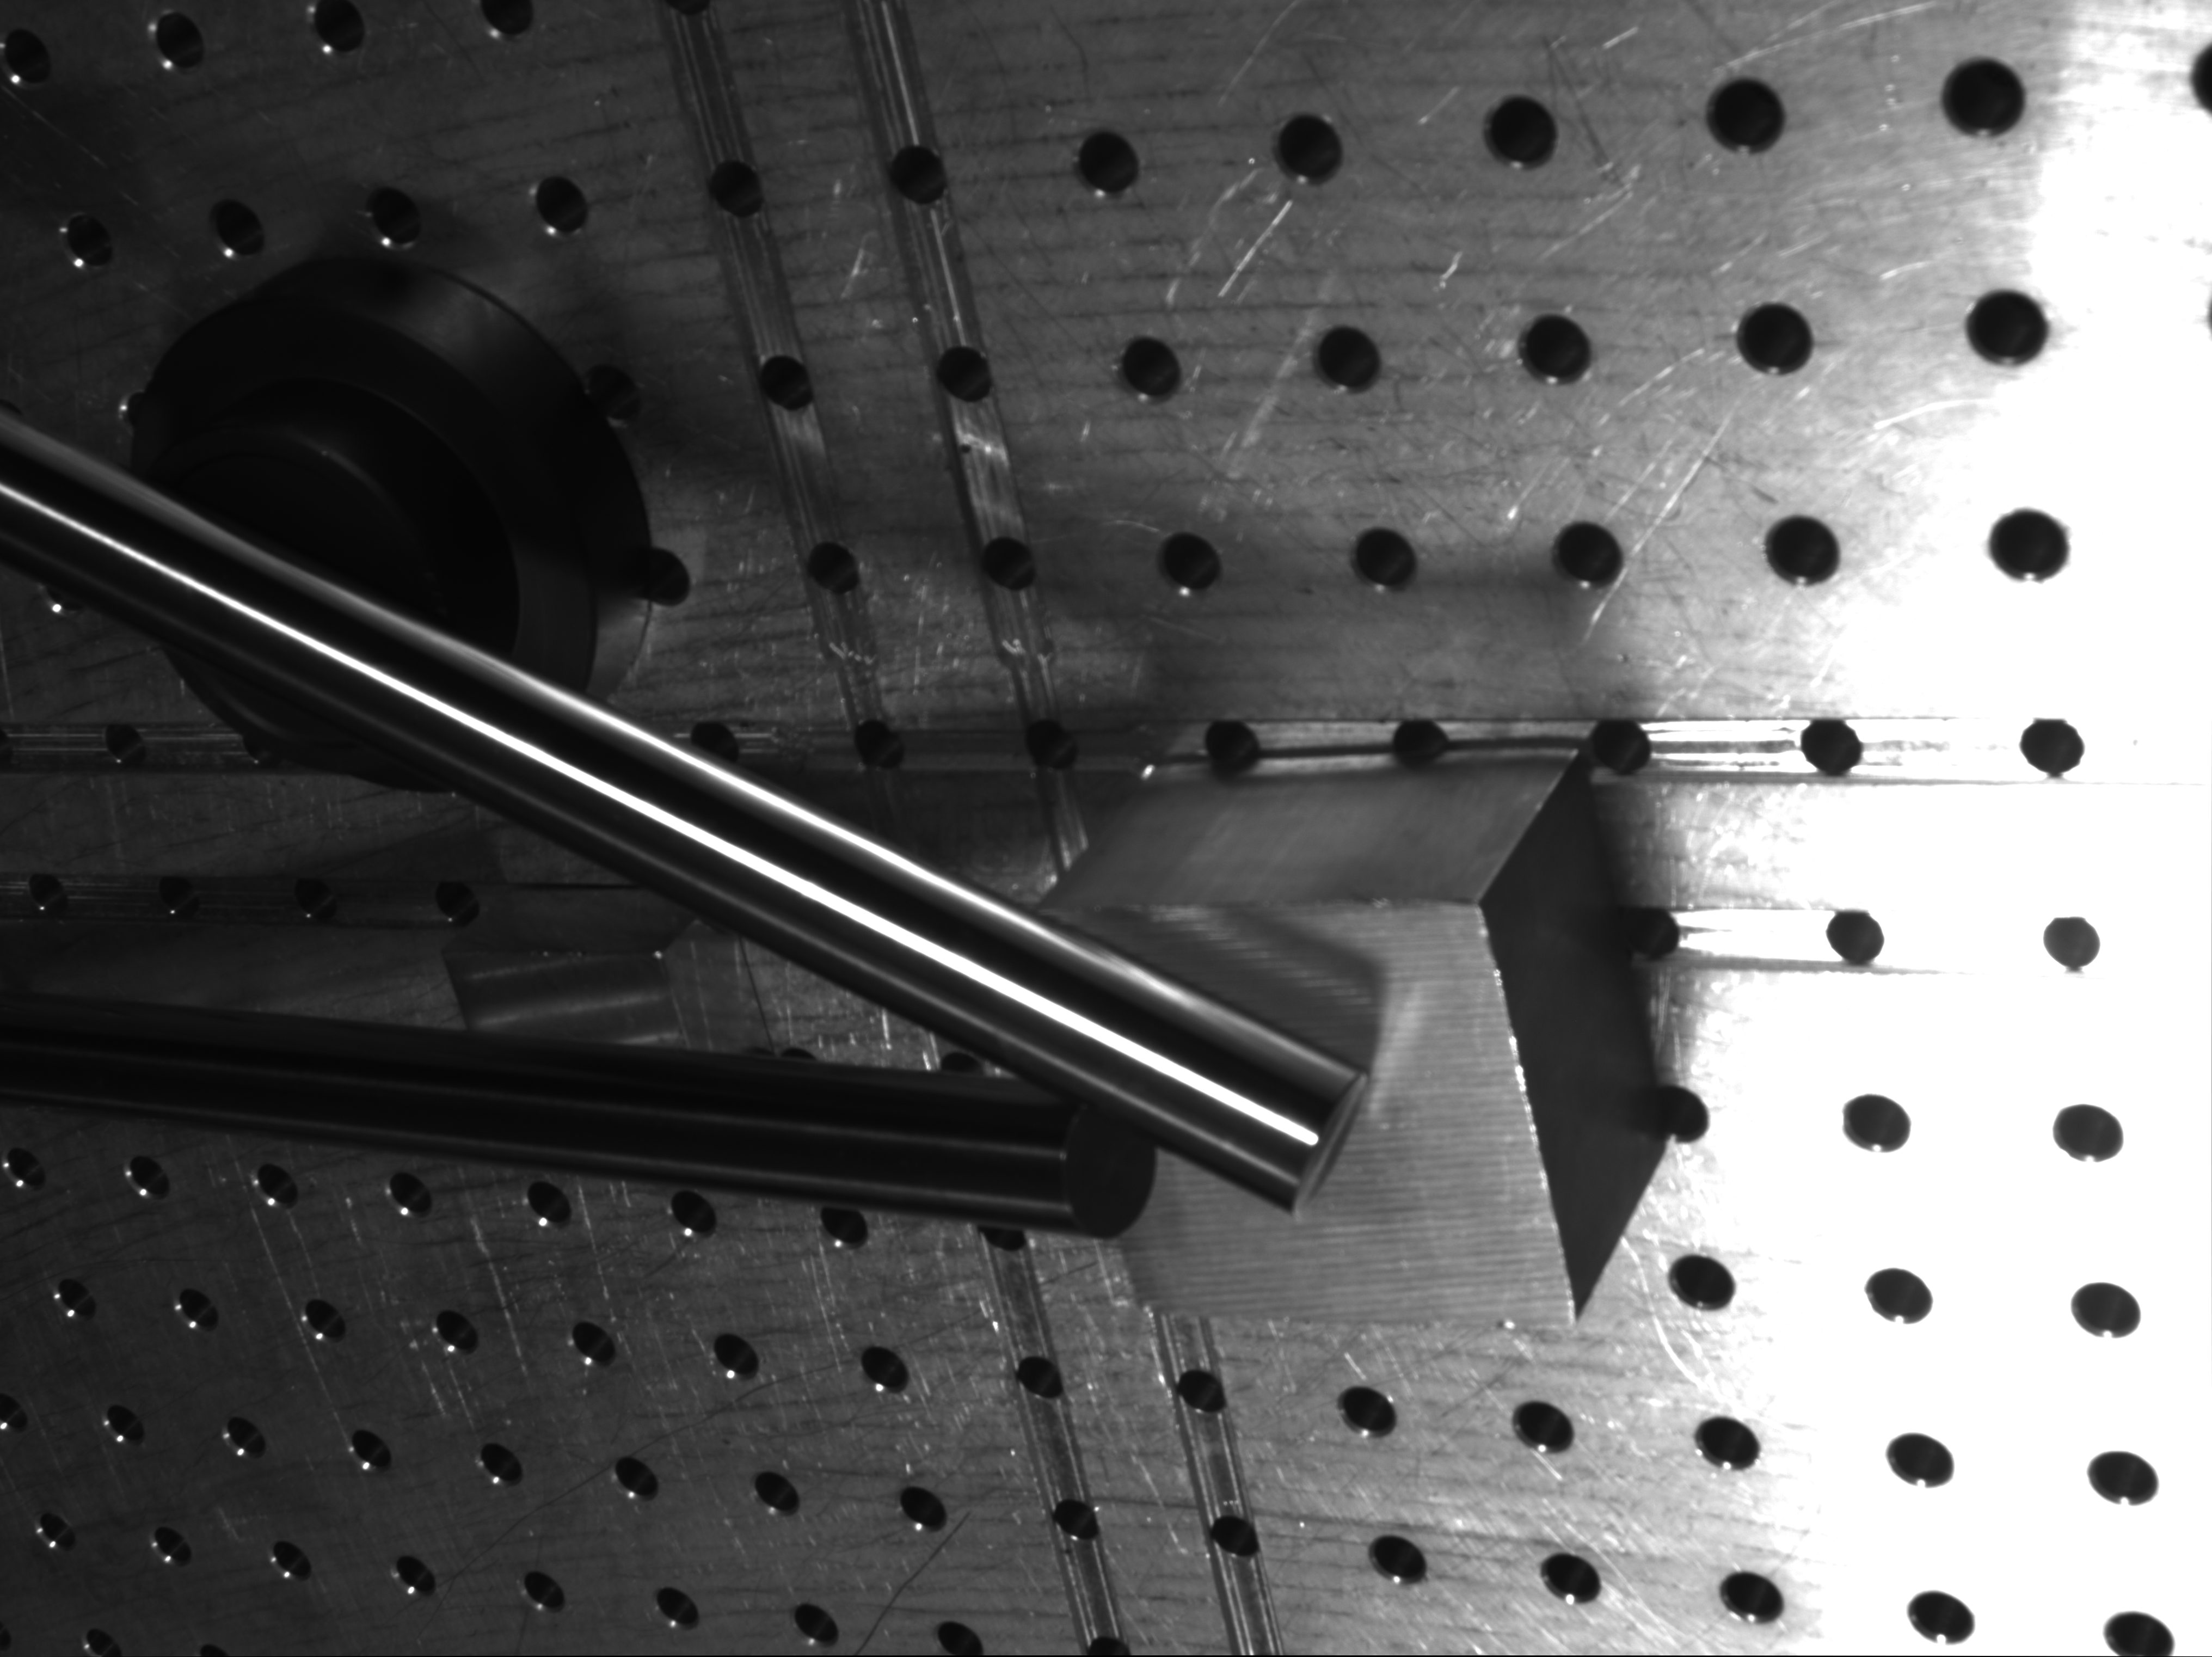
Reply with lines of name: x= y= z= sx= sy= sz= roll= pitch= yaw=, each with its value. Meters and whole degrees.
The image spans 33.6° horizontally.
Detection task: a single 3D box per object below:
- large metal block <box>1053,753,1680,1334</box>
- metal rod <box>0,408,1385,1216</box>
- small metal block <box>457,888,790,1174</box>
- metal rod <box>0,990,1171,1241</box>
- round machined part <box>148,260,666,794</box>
large metal block: x=0.044 y=0.036 z=0.614 sx=0.080 sy=0.050 sz=0.080 roll=-2 pitch=117 yaw=28
metal rod: x=-0.093 y=-0.013 z=0.612 sx=0.300 sy=0.025 sz=0.025 roll=25 pitch=127 yaw=15
small metal block: x=-0.090 y=0.039 z=0.703 sx=0.050 sy=0.025 sz=0.050 roll=0 pitch=118 yaw=27
metal rod: x=-0.115 y=0.051 z=0.687 sx=0.299 sy=0.025 sz=0.025 roll=2 pitch=120 yaw=38
round machined part: x=-0.132 y=-0.049 z=0.660 sx=0.098 sy=0.042 sz=0.098 roll=12 pitch=123 yaw=20
